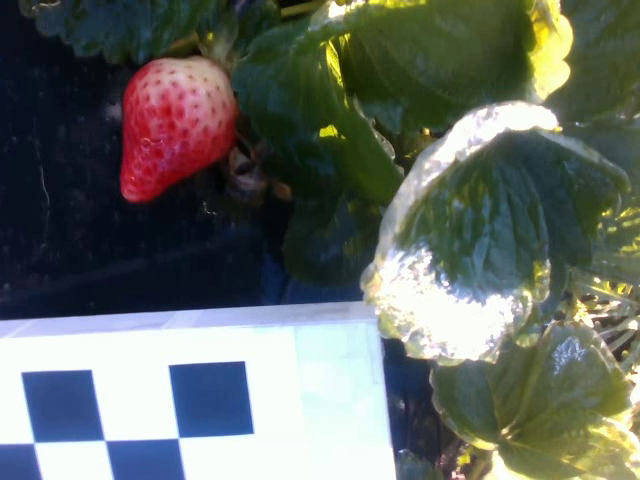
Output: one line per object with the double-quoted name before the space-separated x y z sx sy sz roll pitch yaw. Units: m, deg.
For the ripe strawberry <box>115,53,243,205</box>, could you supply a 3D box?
"ripe strawberry" -0.060 -0.040 0.220 0.040 0.065 0.040 36 11 -5
